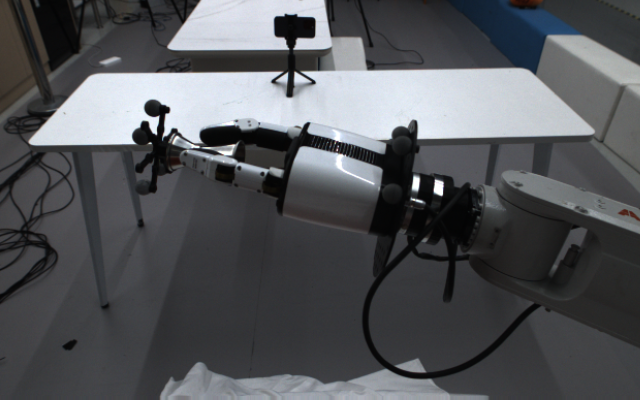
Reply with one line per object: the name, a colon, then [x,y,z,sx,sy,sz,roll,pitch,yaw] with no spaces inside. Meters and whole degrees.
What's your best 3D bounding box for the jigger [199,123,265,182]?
jigger: [-0.107,-0.045,0.491,0.071,0.043,0.043,9,35,4]
